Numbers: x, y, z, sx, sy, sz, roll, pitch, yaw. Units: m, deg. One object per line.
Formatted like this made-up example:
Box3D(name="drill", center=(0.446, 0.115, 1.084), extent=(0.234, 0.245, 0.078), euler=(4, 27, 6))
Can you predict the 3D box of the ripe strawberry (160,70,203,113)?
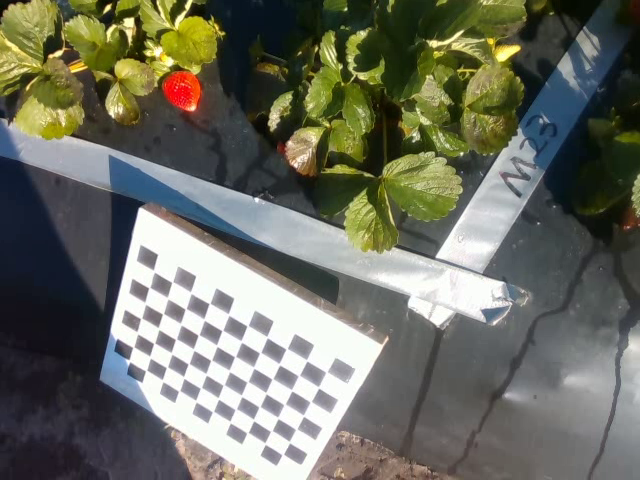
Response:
Box3D(name="ripe strawberry", center=(-0.151, -0.163, 0.676), extent=(0.045, 0.059, 0.042), euler=(-35, -12, 33))
